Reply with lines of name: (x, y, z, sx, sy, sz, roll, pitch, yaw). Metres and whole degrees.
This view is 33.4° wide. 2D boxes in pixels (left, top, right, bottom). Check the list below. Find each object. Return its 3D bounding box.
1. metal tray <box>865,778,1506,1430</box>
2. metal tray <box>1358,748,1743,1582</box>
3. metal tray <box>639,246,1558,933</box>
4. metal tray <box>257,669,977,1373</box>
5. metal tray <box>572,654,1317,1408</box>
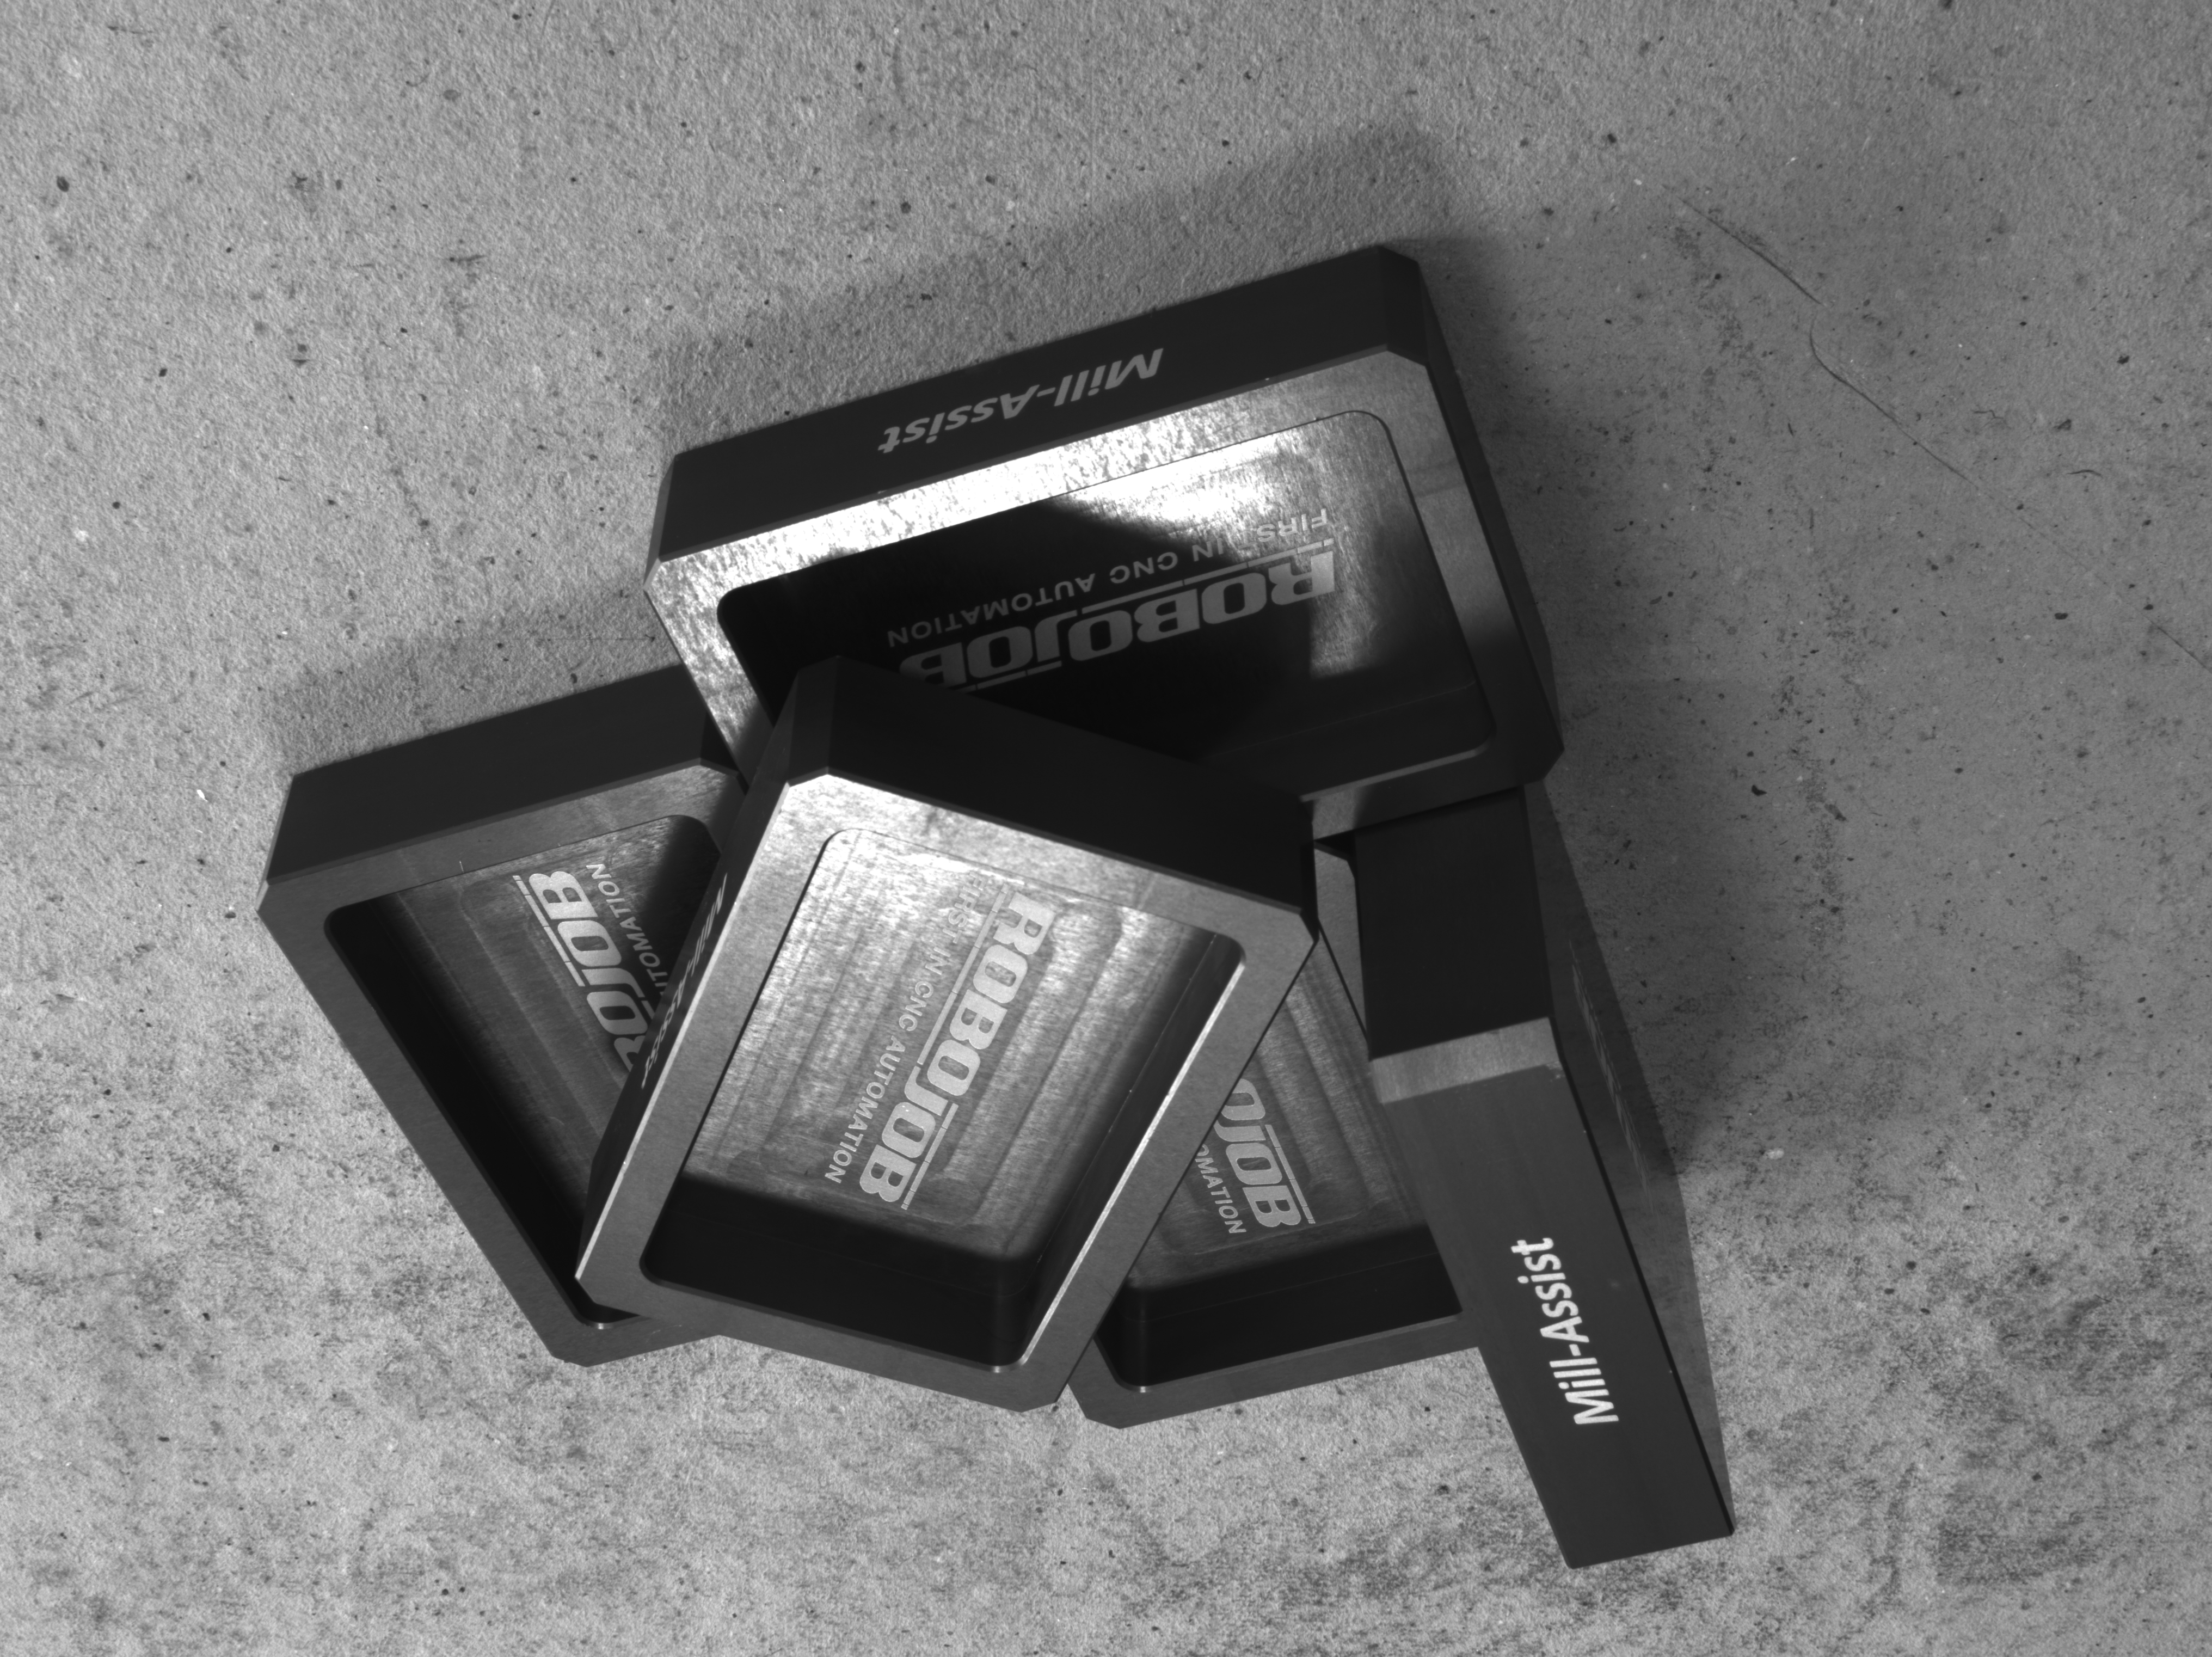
metal tray: (0.019, 0.052, 0.677, 0.090, 0.030, 0.130, -14, 130, 13)
metal tray: (0.077, 0.056, 0.641, 0.030, 0.090, 0.130, -14, 129, 12)
metal tray: (0.000, -0.035, 0.607, 0.130, 0.030, 0.090, -14, 128, 12)
metal tray: (-0.083, 0.038, 0.666, 0.090, 0.030, 0.130, -15, 128, 12)
metal tray: (-0.030, 0.038, 0.630, 0.090, 0.030, 0.130, 17, 128, -13)
